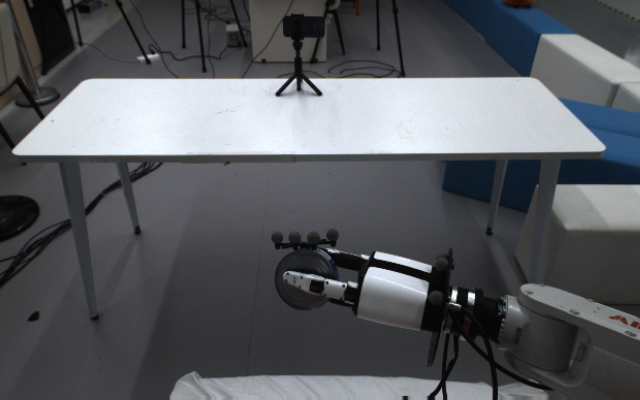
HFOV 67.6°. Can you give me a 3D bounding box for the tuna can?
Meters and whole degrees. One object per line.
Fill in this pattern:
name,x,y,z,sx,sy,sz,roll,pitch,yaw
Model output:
tuna can,-0.016,0.113,0.673,0.085,0.085,0.034,10,3,11
